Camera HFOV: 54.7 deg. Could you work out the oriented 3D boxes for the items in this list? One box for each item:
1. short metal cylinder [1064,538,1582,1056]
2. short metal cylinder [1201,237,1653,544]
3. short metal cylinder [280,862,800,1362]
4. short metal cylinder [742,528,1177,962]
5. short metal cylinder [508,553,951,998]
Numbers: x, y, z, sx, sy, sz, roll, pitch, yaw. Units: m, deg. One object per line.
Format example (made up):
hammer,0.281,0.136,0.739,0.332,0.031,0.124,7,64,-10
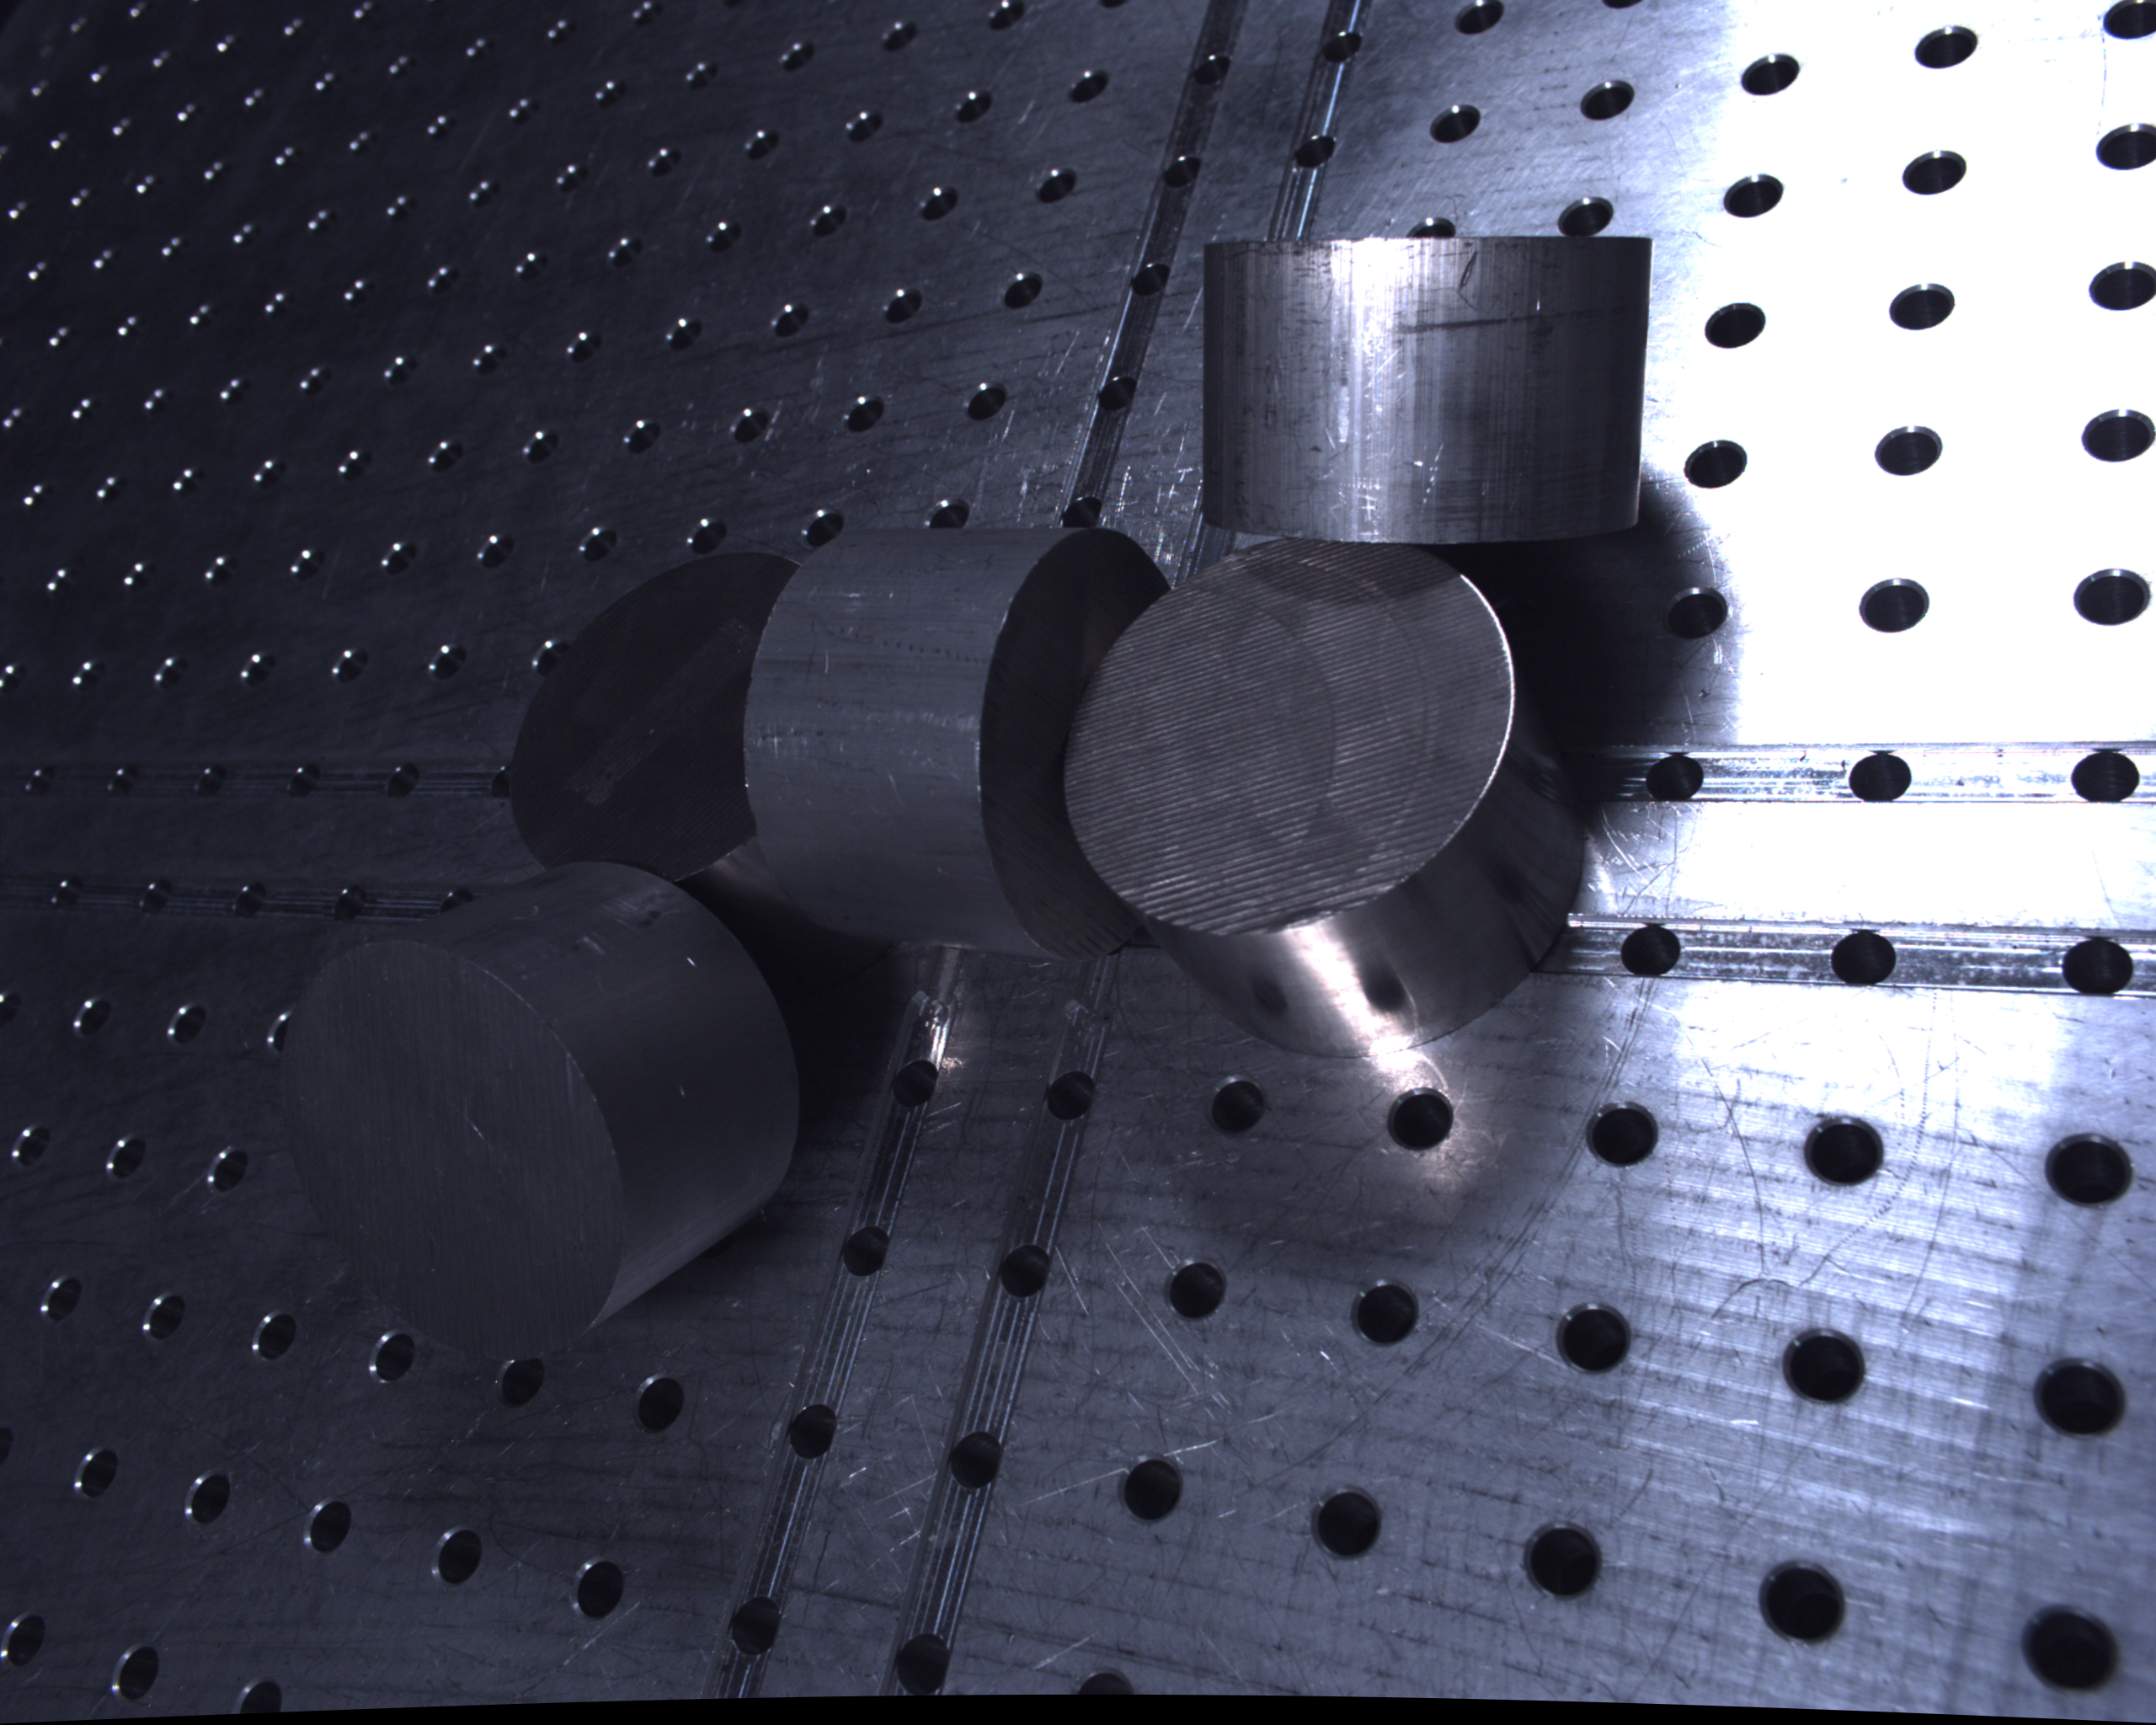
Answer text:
short metal cylinder,0.045,-0.012,0.374,0.080,0.050,0.080,-13,56,20
short metal cylinder,0.063,-0.088,0.385,0.080,0.081,0.050,9,108,32
short metal cylinder,-0.100,0.045,0.389,0.080,0.050,0.079,9,110,26
short metal cylinder,-0.018,-0.023,0.395,0.050,0.080,0.080,5,64,30
short metal cylinder,-0.070,-0.018,0.437,0.080,0.050,0.080,-13,56,20
